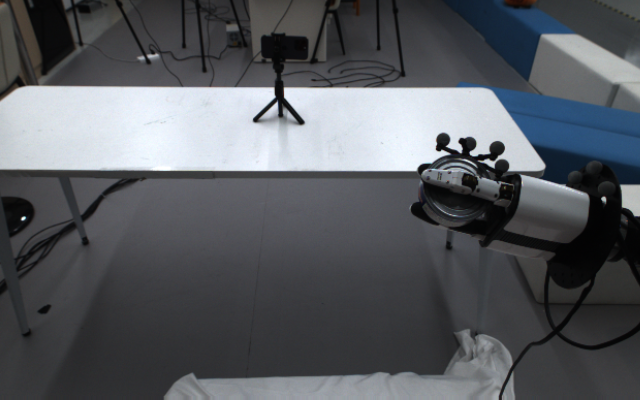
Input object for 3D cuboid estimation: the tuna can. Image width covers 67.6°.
[{"bbox_3d":[0.168,-0.014,0.600,0.085,0.034,0.085,0,72,0],"label":"tuna can"}]
